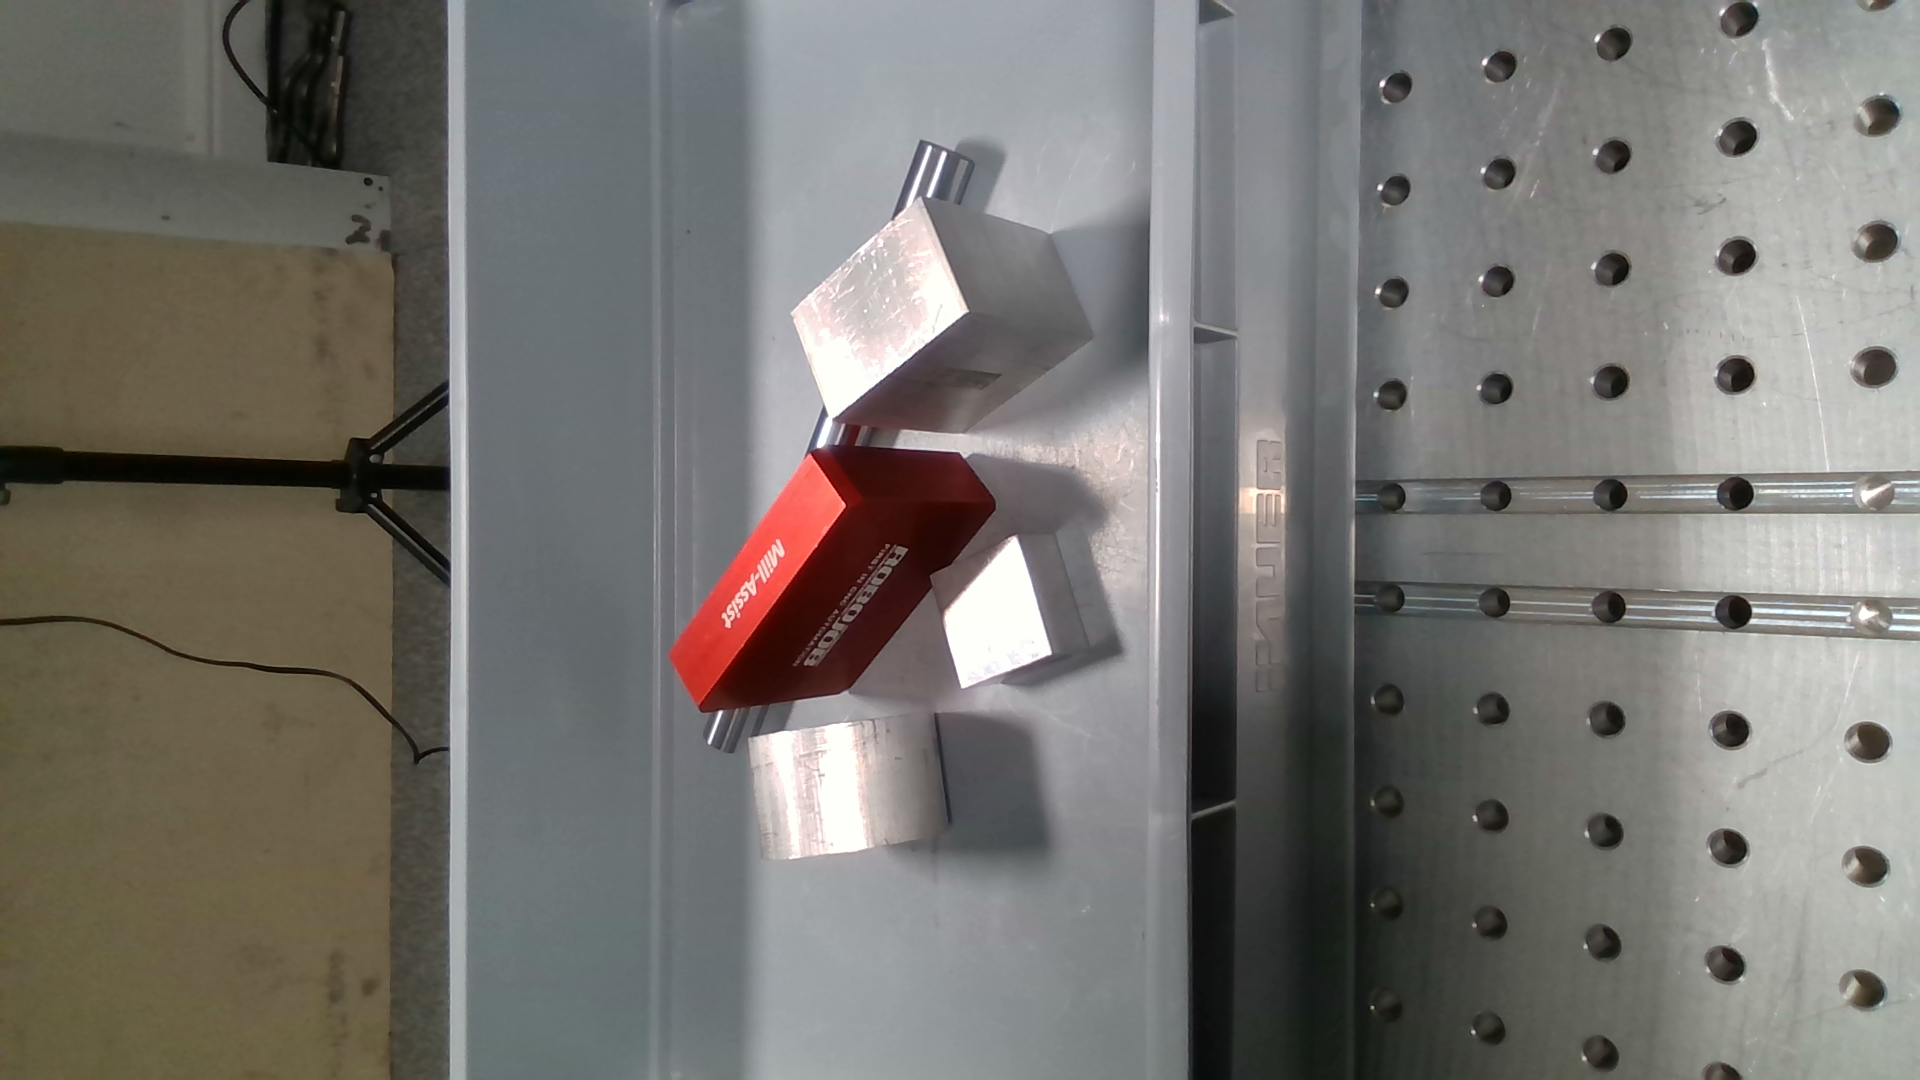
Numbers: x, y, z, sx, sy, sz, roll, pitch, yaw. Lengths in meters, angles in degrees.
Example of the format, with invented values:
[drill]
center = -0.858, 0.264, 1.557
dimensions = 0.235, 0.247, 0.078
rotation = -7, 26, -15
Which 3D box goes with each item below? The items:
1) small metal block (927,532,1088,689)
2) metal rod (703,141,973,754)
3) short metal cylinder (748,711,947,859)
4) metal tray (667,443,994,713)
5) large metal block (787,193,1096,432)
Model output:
[small metal block]
center = 0.019, 0.029, 0.564
dimensions = 0.050, 0.025, 0.050
rotation = -26, 74, 38
[metal rod]
center = -0.060, -0.033, 0.631
dimensions = 0.025, 0.025, 0.301
rotation = 36, 113, 34
[short metal cylinder]
center = -0.048, 0.104, 0.586
dimensions = 0.080, 0.080, 0.050
rotation = -15, 80, 39
[metal tray]
center = -0.055, 0.017, 0.584
dimensions = 0.130, 0.090, 0.030
rotation = -51, 60, 28
[large metal block]
center = -0.007, -0.087, 0.550
dimensions = 0.080, 0.080, 0.050
rotation = -33, 70, 35
